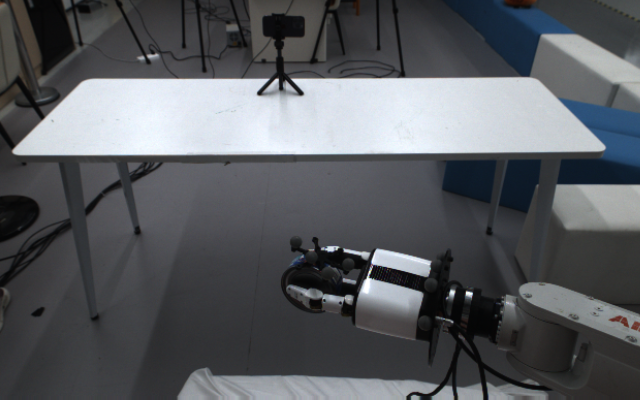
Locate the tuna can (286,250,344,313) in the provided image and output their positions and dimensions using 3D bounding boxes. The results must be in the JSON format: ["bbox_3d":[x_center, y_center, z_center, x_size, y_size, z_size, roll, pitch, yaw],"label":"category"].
[{"bbox_3d":[-0.009,0.122,0.704,0.085,0.085,0.034,13,30,15],"label":"tuna can"}]
